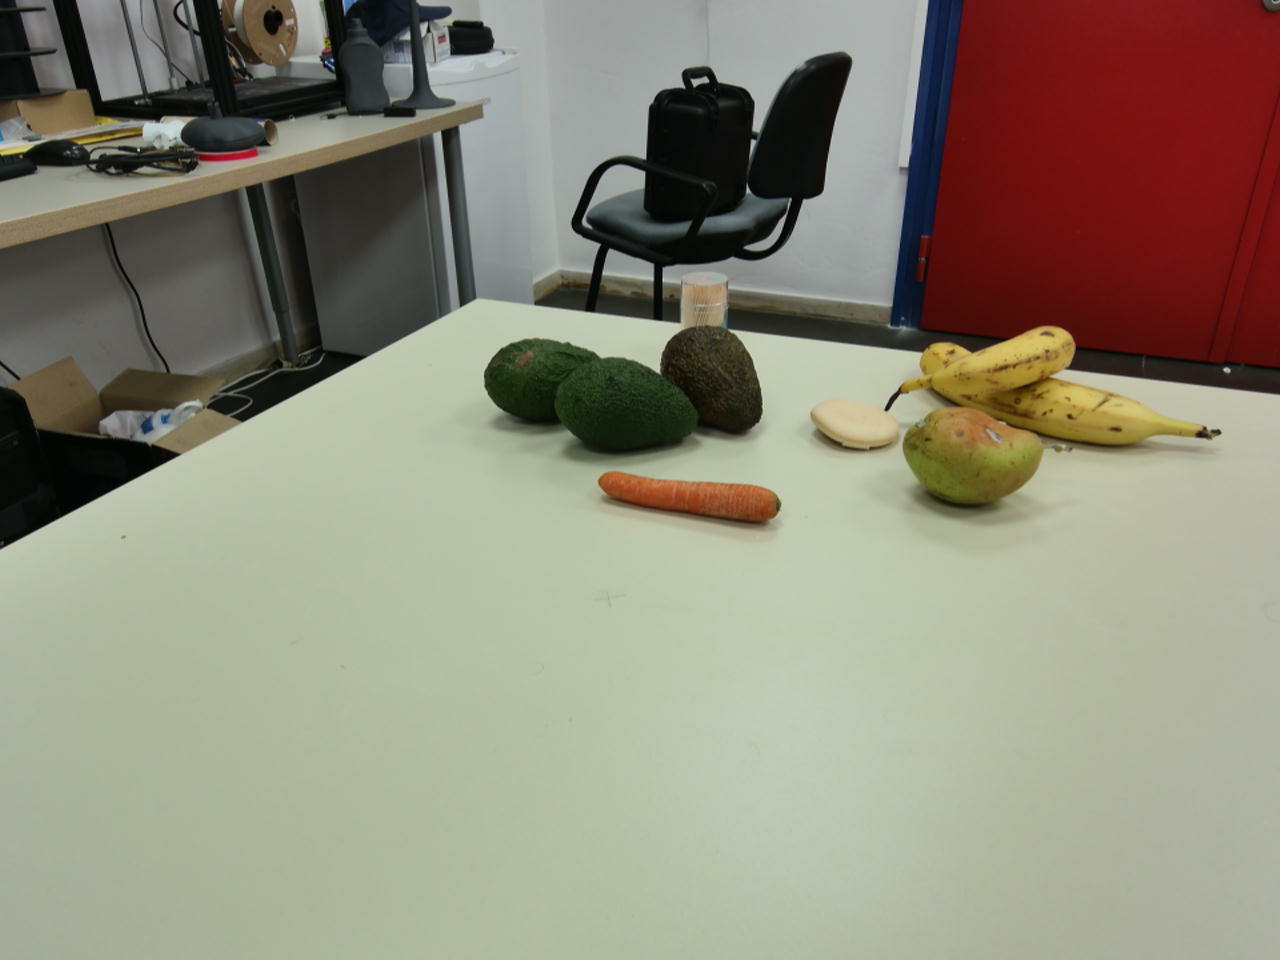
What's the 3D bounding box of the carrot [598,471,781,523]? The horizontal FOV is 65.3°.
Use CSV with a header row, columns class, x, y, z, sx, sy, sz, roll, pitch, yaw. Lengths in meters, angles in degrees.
class,x,y,z,sx,sy,sz,roll,pitch,yaw
carrot,0.029,0.009,0.638,0.122,0.023,0.024,9,27,19
